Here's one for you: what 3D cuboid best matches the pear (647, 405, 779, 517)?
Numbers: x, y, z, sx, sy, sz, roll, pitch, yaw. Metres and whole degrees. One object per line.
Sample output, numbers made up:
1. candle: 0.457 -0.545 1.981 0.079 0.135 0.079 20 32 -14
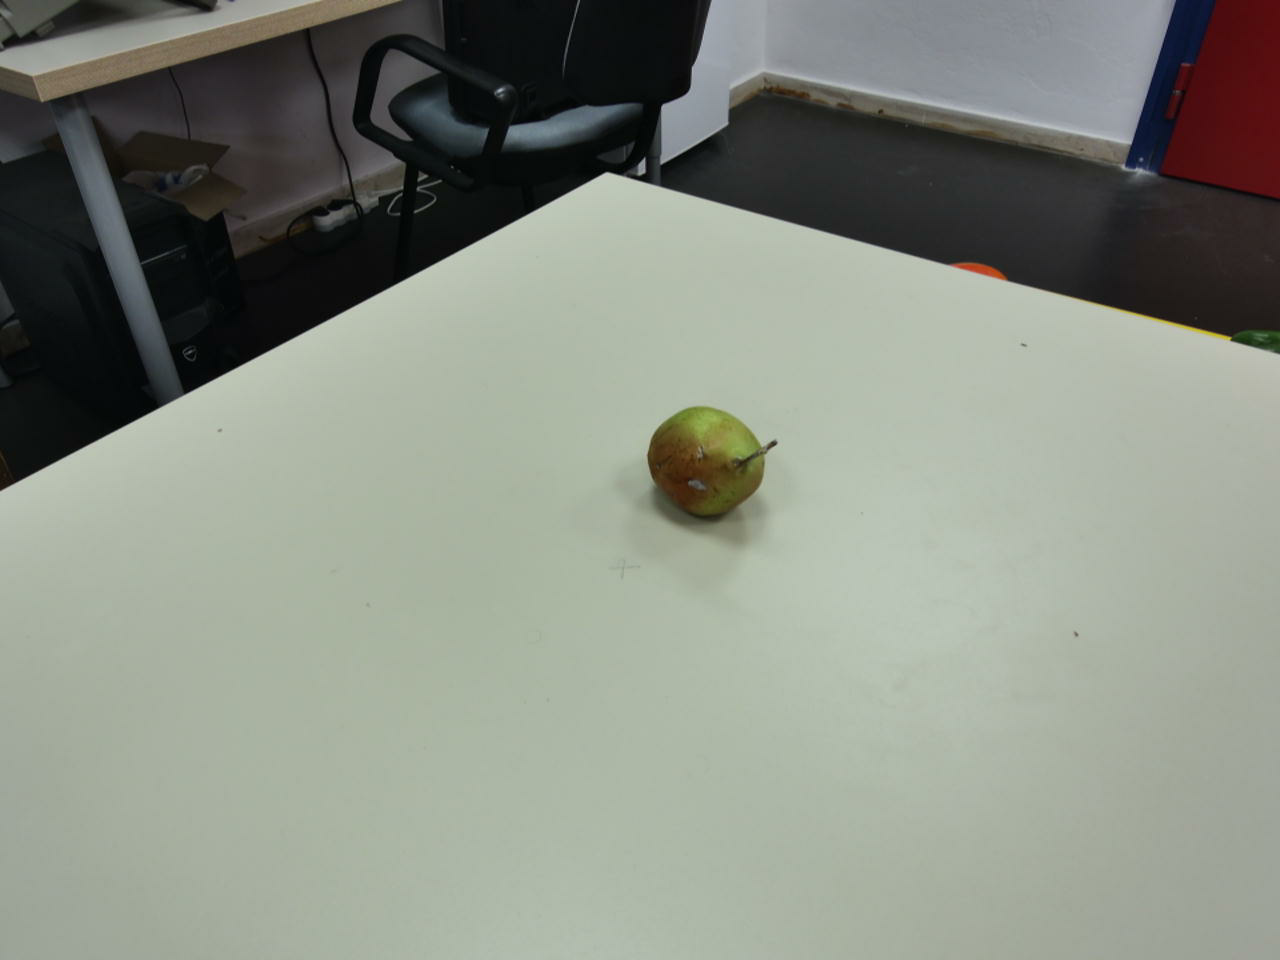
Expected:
1. pear: 0.039 -0.013 0.585 0.068 0.069 0.070 0 38 -1
